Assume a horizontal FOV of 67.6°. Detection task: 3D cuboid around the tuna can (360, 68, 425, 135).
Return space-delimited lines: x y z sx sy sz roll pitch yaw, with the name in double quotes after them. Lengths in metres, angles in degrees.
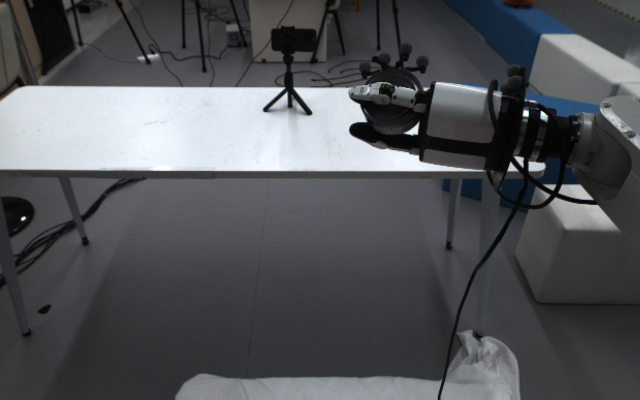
0.099 -0.134 0.660 0.085 0.034 0.085 -4 73 14 "tuna can"
